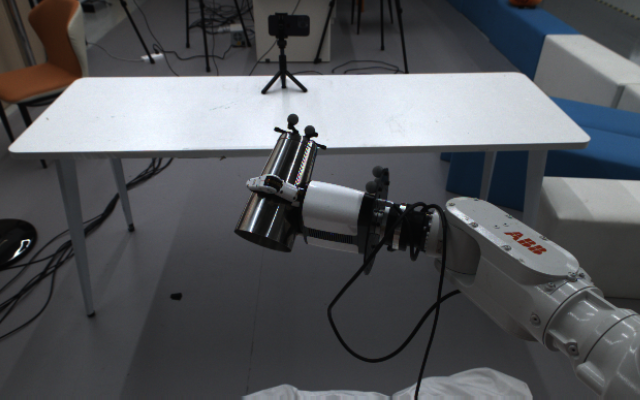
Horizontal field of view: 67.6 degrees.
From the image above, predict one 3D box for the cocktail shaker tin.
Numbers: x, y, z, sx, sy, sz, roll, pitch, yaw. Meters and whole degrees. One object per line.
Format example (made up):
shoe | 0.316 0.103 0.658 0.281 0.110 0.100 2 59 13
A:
cocktail shaker tin | -0.061 -0.014 0.749 0.093 0.093 0.170 14 73 17
